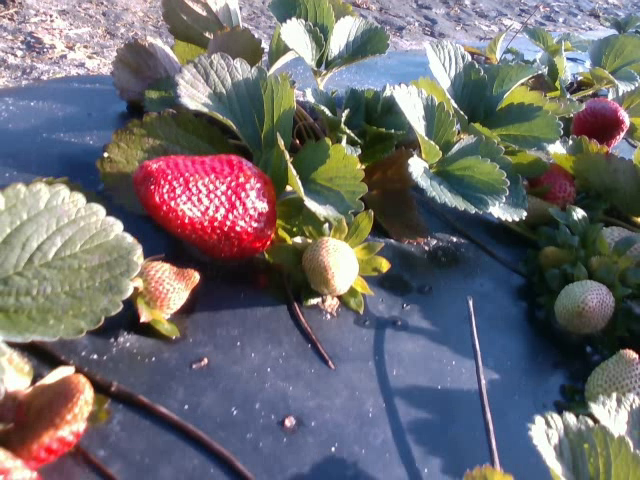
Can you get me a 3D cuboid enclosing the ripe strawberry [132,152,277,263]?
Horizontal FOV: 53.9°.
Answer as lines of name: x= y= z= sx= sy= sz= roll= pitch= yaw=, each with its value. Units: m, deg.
ripe strawberry: x=-0.049 y=-0.018 z=0.252 sx=0.056 sy=0.055 sz=0.072 roll=-16 pitch=-4 yaw=30
